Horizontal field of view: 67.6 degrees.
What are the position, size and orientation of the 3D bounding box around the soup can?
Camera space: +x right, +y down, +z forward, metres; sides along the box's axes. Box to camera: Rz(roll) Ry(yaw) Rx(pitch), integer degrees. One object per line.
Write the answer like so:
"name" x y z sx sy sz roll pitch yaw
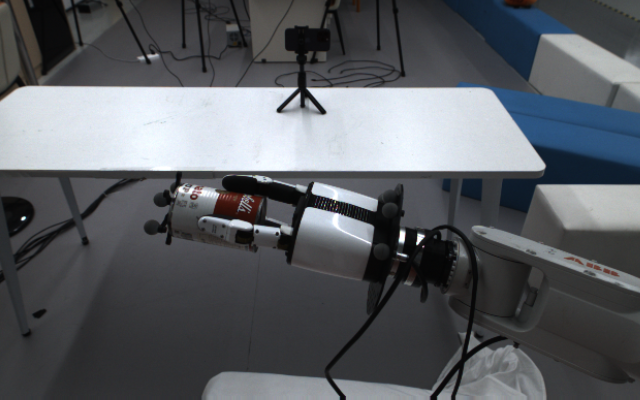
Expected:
"soup can" -0.118 0.022 0.577 0.101 0.067 0.067 11 35 0
